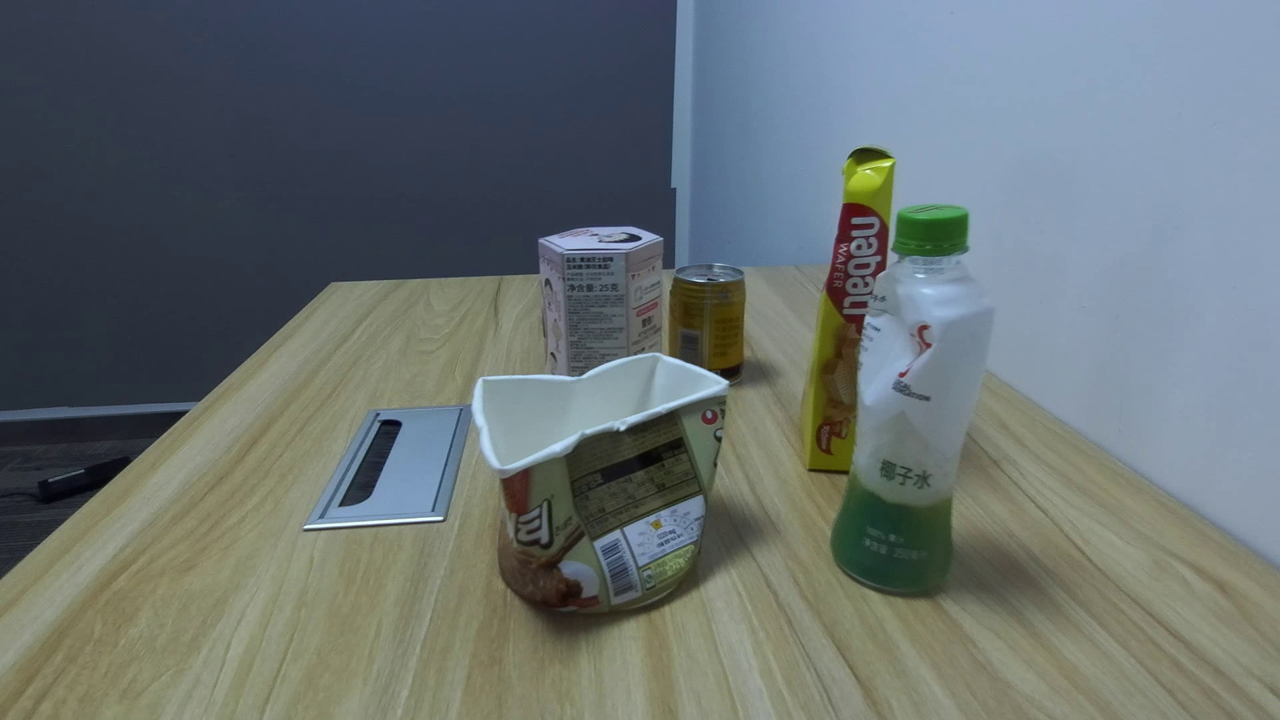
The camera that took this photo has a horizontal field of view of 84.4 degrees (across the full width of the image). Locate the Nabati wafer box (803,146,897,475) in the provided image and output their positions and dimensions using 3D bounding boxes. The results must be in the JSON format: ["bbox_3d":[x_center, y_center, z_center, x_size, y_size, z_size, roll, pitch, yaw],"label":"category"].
[{"bbox_3d":[0.141,-0.039,0.475,0.042,0.205,0.113,4,23,10],"label":"Nabati wafer box"}]

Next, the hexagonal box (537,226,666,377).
[{"bbox_3d":[-0.028,-0.026,0.535,0.083,0.136,0.091,12,25,30],"label":"hexagonal box"}]

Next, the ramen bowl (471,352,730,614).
[{"bbox_3d":[-0.016,0.060,0.375,0.129,0.093,0.111,-8,24,-18],"label":"ramen bowl"}]

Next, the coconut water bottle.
[{"bbox_3d":[0.134,0.021,0.347,0.069,0.187,0.069,0,22,0],"label":"coconut water bottle"}]

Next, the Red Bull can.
[{"bbox_3d":[0.057,-0.030,0.607,0.068,0.093,0.068,0,21,0],"label":"Red Bull can"}]
